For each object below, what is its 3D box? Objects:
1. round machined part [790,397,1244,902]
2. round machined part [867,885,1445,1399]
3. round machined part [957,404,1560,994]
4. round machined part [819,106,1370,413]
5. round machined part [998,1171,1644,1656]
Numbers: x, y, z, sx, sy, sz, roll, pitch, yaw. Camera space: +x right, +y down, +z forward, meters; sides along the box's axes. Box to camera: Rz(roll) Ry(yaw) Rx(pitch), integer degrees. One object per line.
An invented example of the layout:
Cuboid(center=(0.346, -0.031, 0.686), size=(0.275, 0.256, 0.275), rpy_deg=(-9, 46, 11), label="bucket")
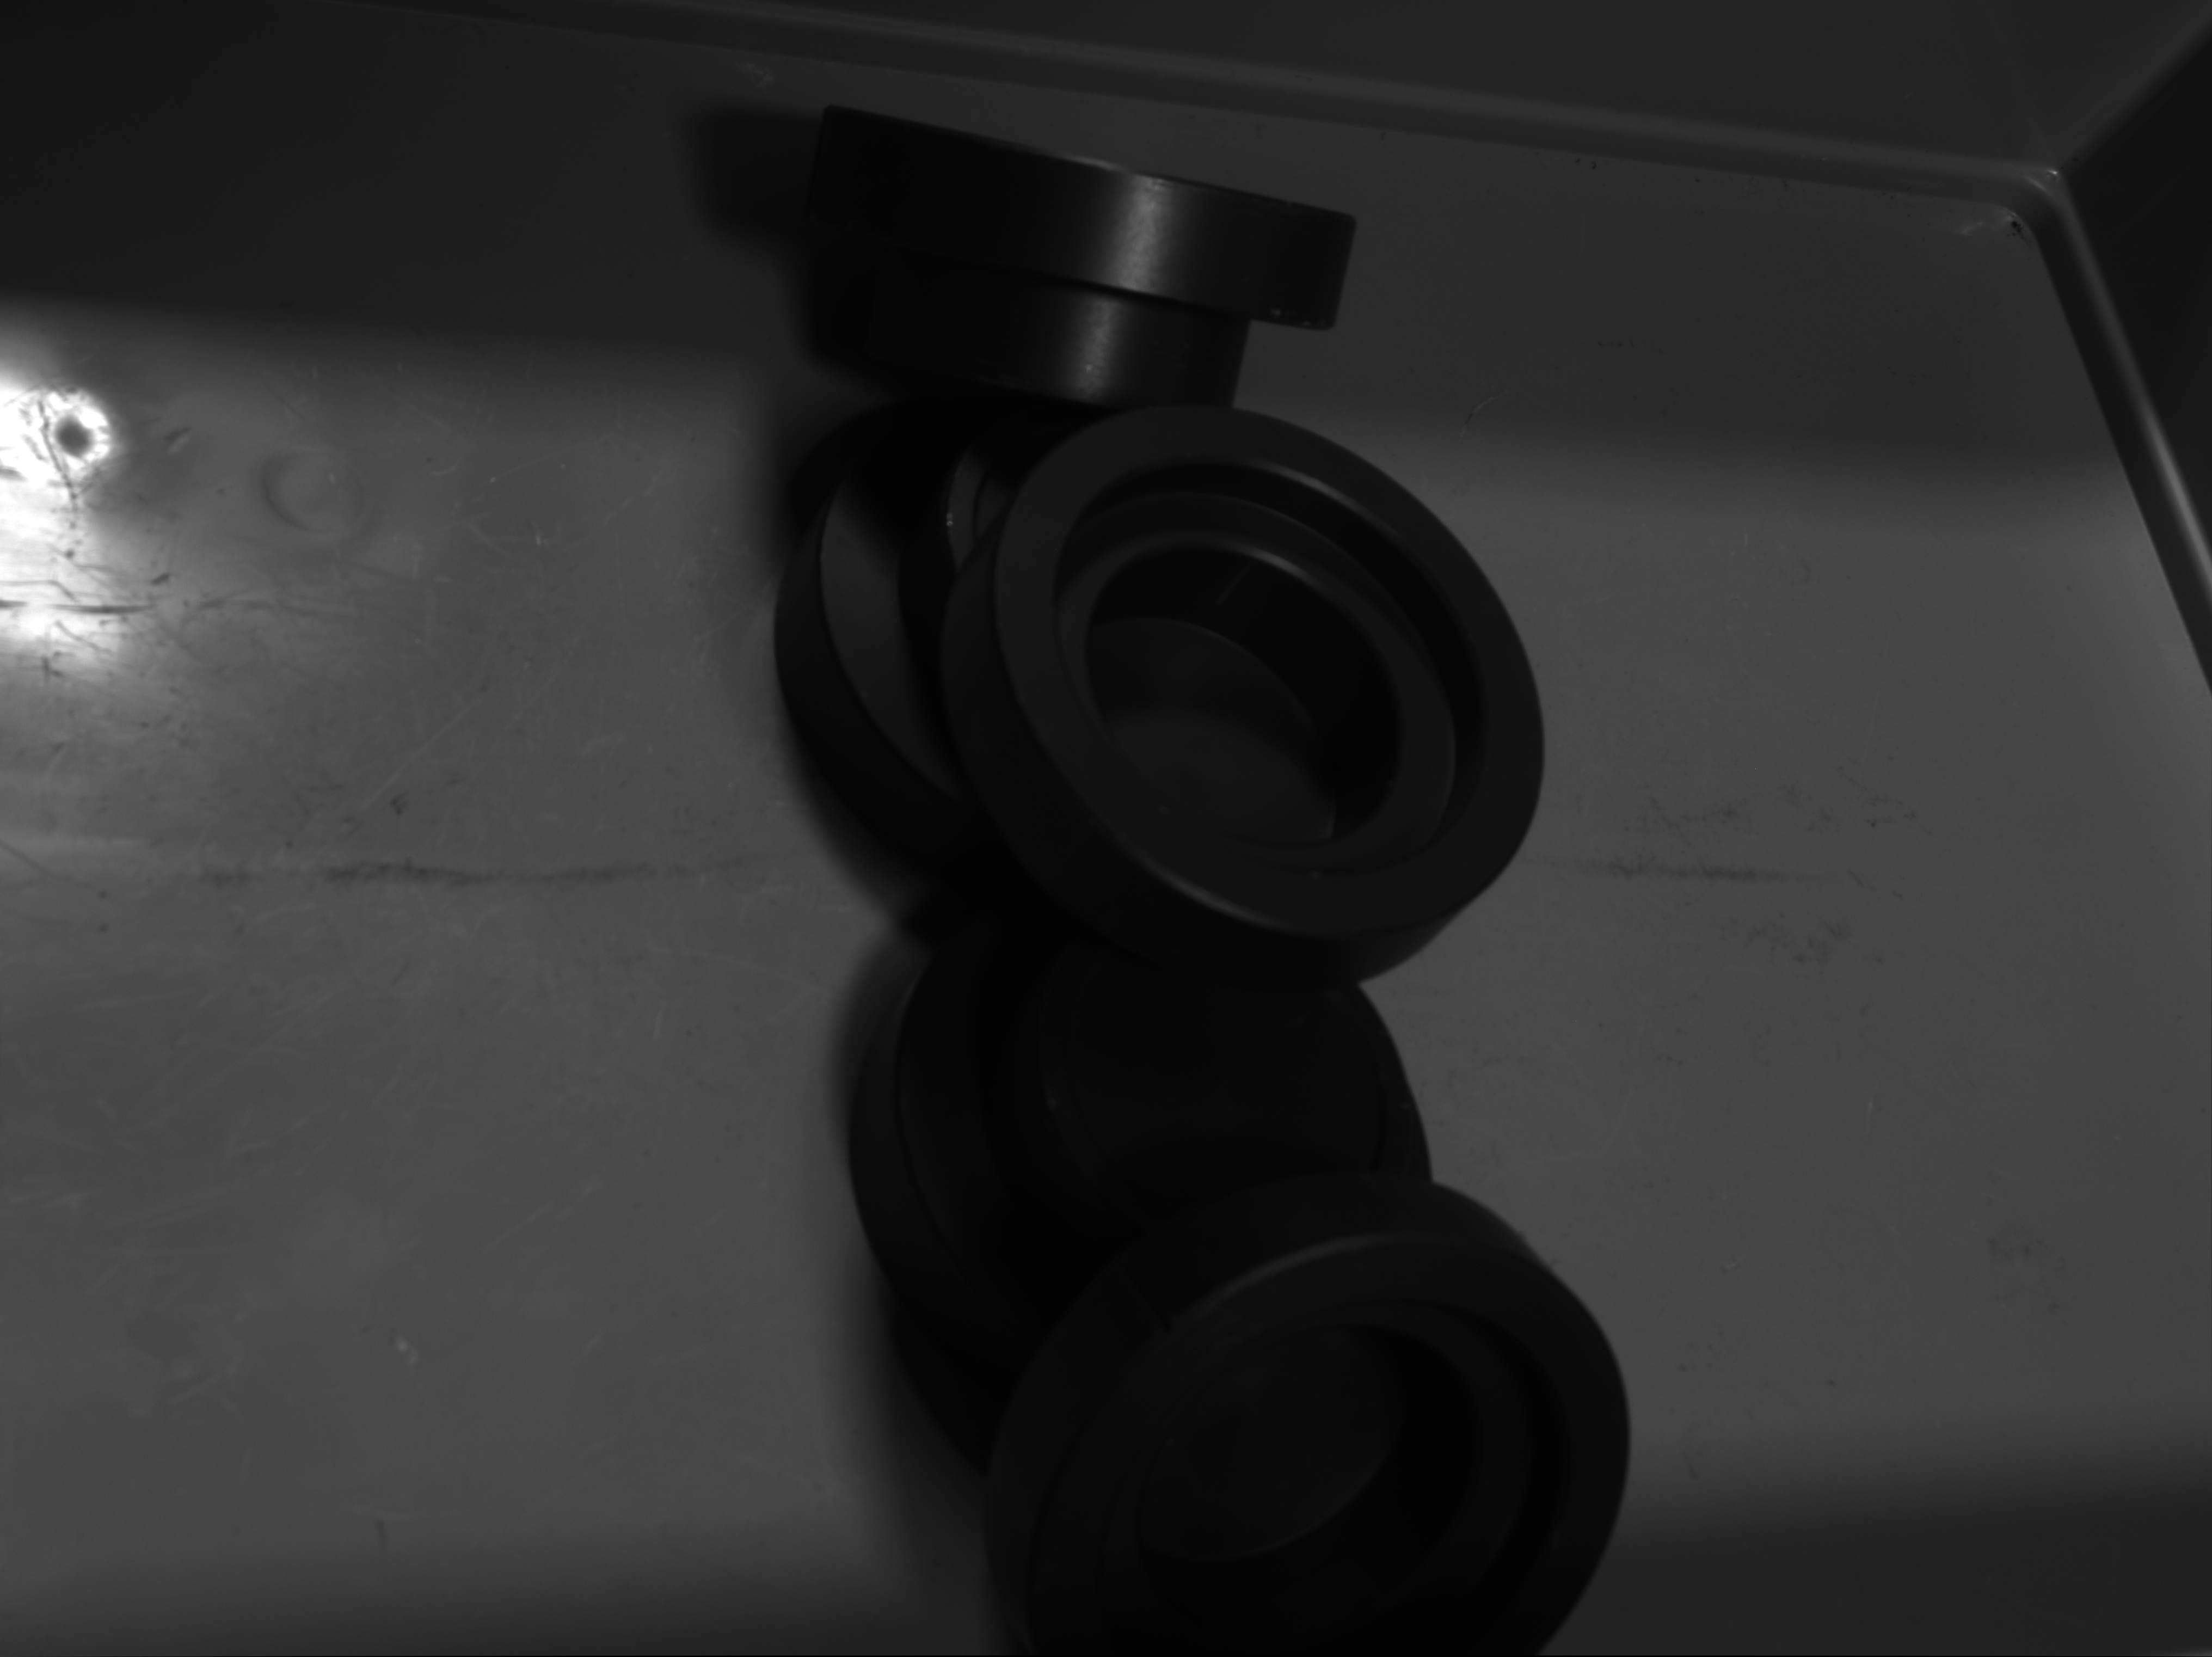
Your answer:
Cuboid(center=(-0.003, -0.036, 0.648), size=(0.098, 0.042, 0.098), rpy_deg=(14, 56, -21), label="round machined part")
Cuboid(center=(0.014, 0.050, 0.603), size=(0.098, 0.042, 0.098), rpy_deg=(14, 56, -21), label="round machined part")
Cuboid(center=(0.021, -0.017, 0.593), size=(0.098, 0.042, 0.098), rpy_deg=(14, 56, -21), label="round machined part")
Cuboid(center=(-0.004, -0.100, 0.663), size=(0.098, 0.098, 0.042), rpy_deg=(7, 101, -24), label="round machined part")
Cuboid(center=(0.029, 0.095, 0.562), size=(0.098, 0.098, 0.042), rpy_deg=(6, 21, -25), label="round machined part")
